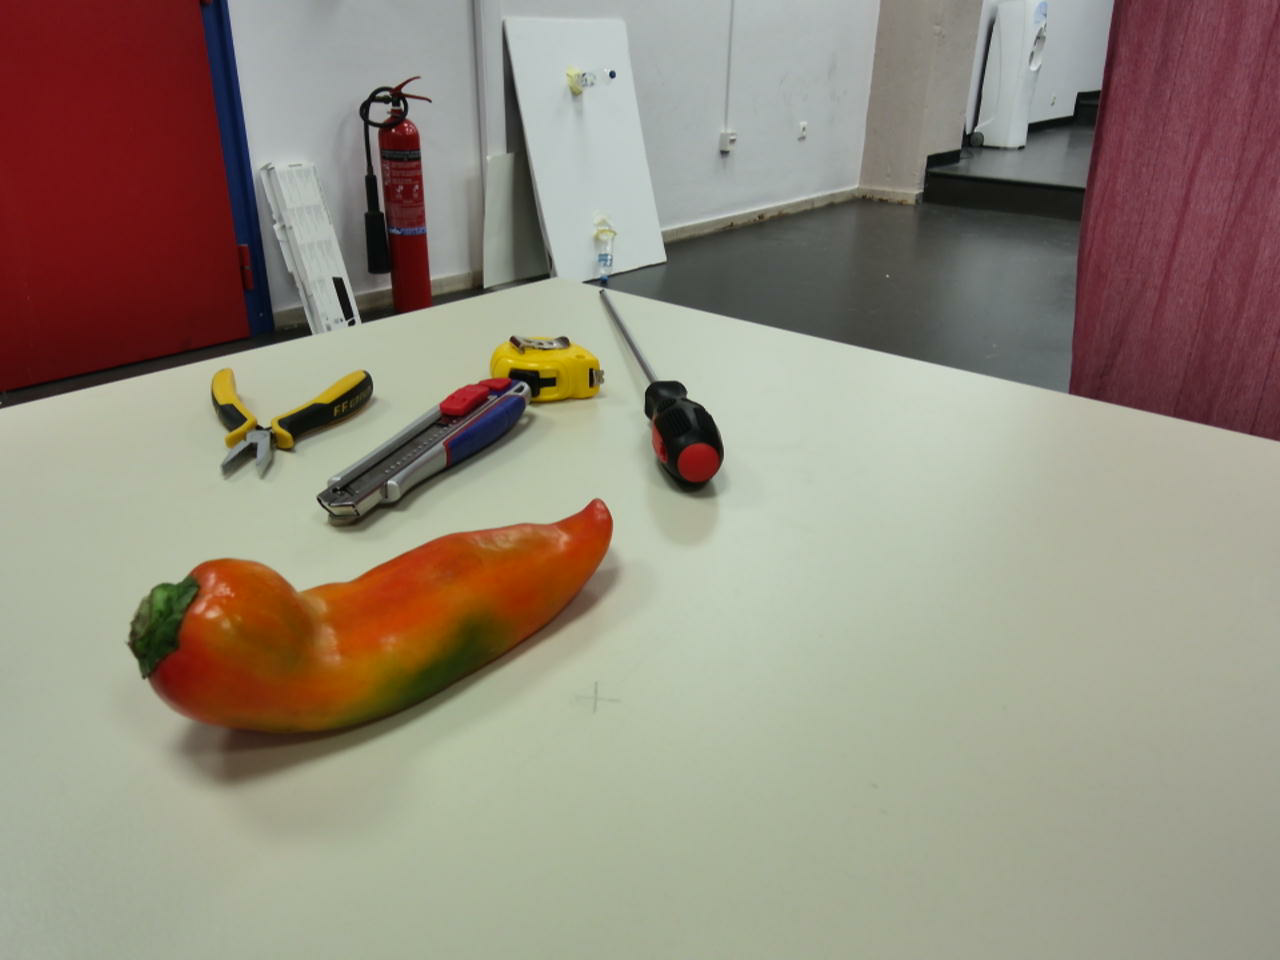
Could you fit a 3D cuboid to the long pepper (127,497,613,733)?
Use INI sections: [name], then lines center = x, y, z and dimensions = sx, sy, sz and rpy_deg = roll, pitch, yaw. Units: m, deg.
[long pepper]
center = -0.081, 0.036, 0.369
dimensions = 0.066, 0.065, 0.199
rpy_deg = 20, 30, 40
